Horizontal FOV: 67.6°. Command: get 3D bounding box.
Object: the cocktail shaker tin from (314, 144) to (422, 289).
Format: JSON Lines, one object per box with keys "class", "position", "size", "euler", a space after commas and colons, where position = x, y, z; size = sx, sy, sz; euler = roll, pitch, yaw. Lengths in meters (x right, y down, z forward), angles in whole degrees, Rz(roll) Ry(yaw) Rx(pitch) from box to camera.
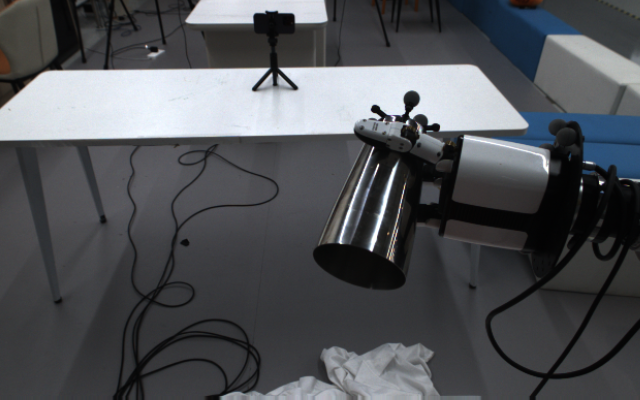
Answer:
{"class": "cocktail shaker tin", "position": [0.064, -0.007, 0.503], "size": [0.093, 0.093, 0.170], "euler": [13, 59, 15]}
